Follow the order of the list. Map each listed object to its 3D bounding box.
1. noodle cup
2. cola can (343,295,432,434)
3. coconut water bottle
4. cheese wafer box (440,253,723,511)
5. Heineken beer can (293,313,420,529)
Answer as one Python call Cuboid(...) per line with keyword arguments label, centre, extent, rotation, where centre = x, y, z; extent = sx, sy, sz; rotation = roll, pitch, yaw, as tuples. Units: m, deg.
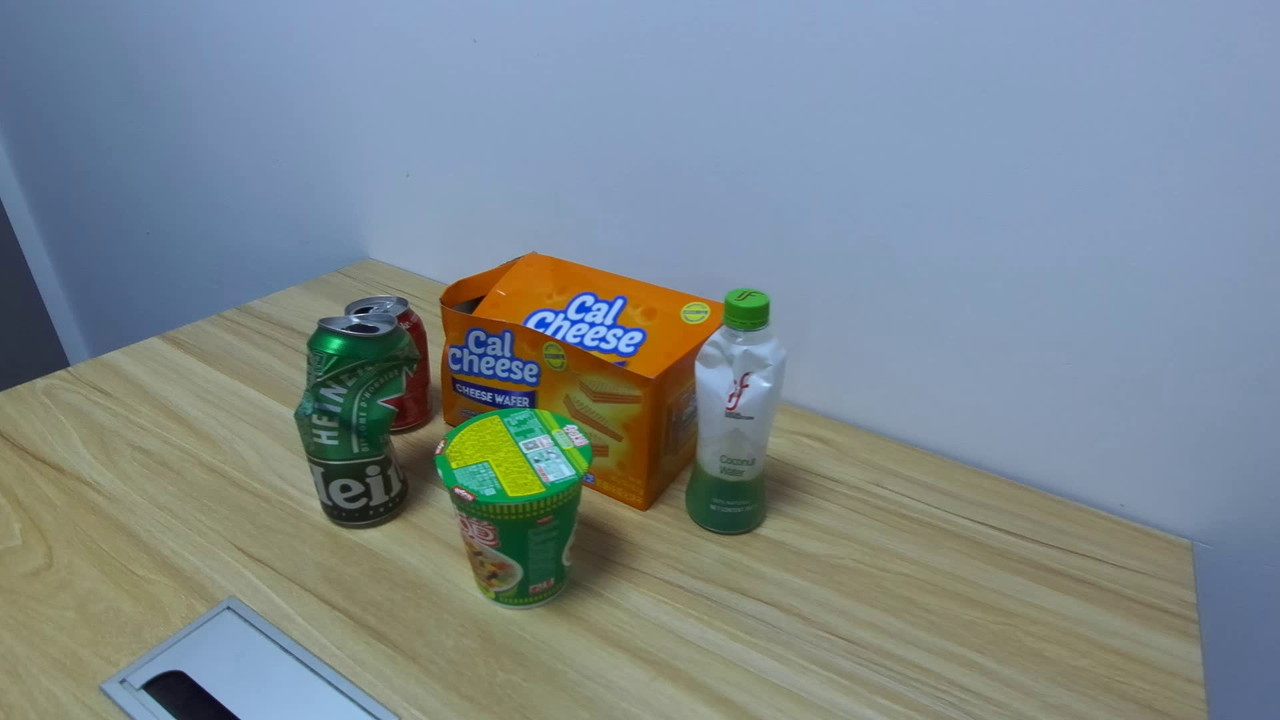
Cuboid(label="noodle cup", centre=(-0.082, 0.104, 0.478), extent=(0.097, 0.110, 0.097), rotation=(2, 32, -1))
Cuboid(label="cola can", centre=(-0.228, 0.002, 0.639), extent=(0.066, 0.117, 0.066), rotation=(12, 31, 17))
Cuboid(label="coconut water bottle", centre=(0.068, 0.039, 0.518), extent=(0.069, 0.186, 0.069), rotation=(0, 29, 0))
Cuboid(label="cheese wafer box", centre=(-0.054, 0.008, 0.630), extent=(0.229, 0.132, 0.152), rotation=(19, 35, 26))
Cuboid(label="Heineken beer can", centre=(-0.209, 0.046, 0.525), extent=(0.067, 0.159, 0.079), rotation=(7, 22, 3))
